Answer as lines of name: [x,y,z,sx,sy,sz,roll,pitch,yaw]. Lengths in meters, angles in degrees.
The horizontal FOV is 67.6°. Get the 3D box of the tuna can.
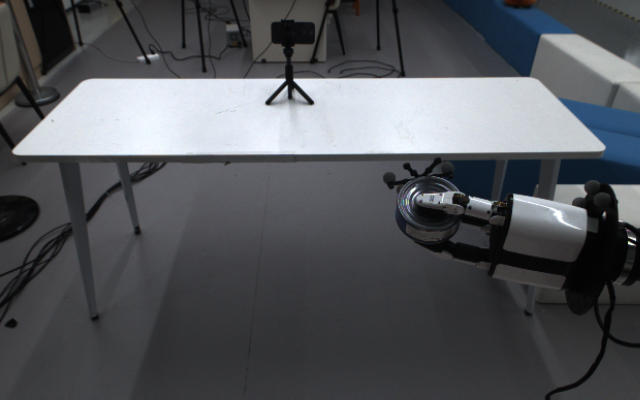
tuna can: [0.146,0.018,0.624,0.085,0.034,0.085,-3,59,5]
